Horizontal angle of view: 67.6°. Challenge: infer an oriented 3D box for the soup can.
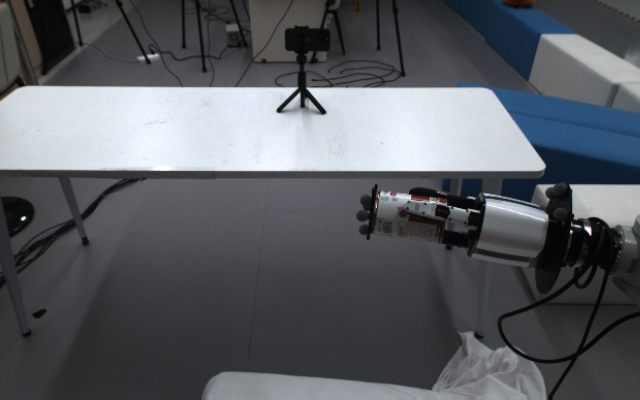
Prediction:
[{"bbox_3d":[0.135,0.024,0.720,0.101,0.067,0.067,7,35,10],"label":"soup can"}]
